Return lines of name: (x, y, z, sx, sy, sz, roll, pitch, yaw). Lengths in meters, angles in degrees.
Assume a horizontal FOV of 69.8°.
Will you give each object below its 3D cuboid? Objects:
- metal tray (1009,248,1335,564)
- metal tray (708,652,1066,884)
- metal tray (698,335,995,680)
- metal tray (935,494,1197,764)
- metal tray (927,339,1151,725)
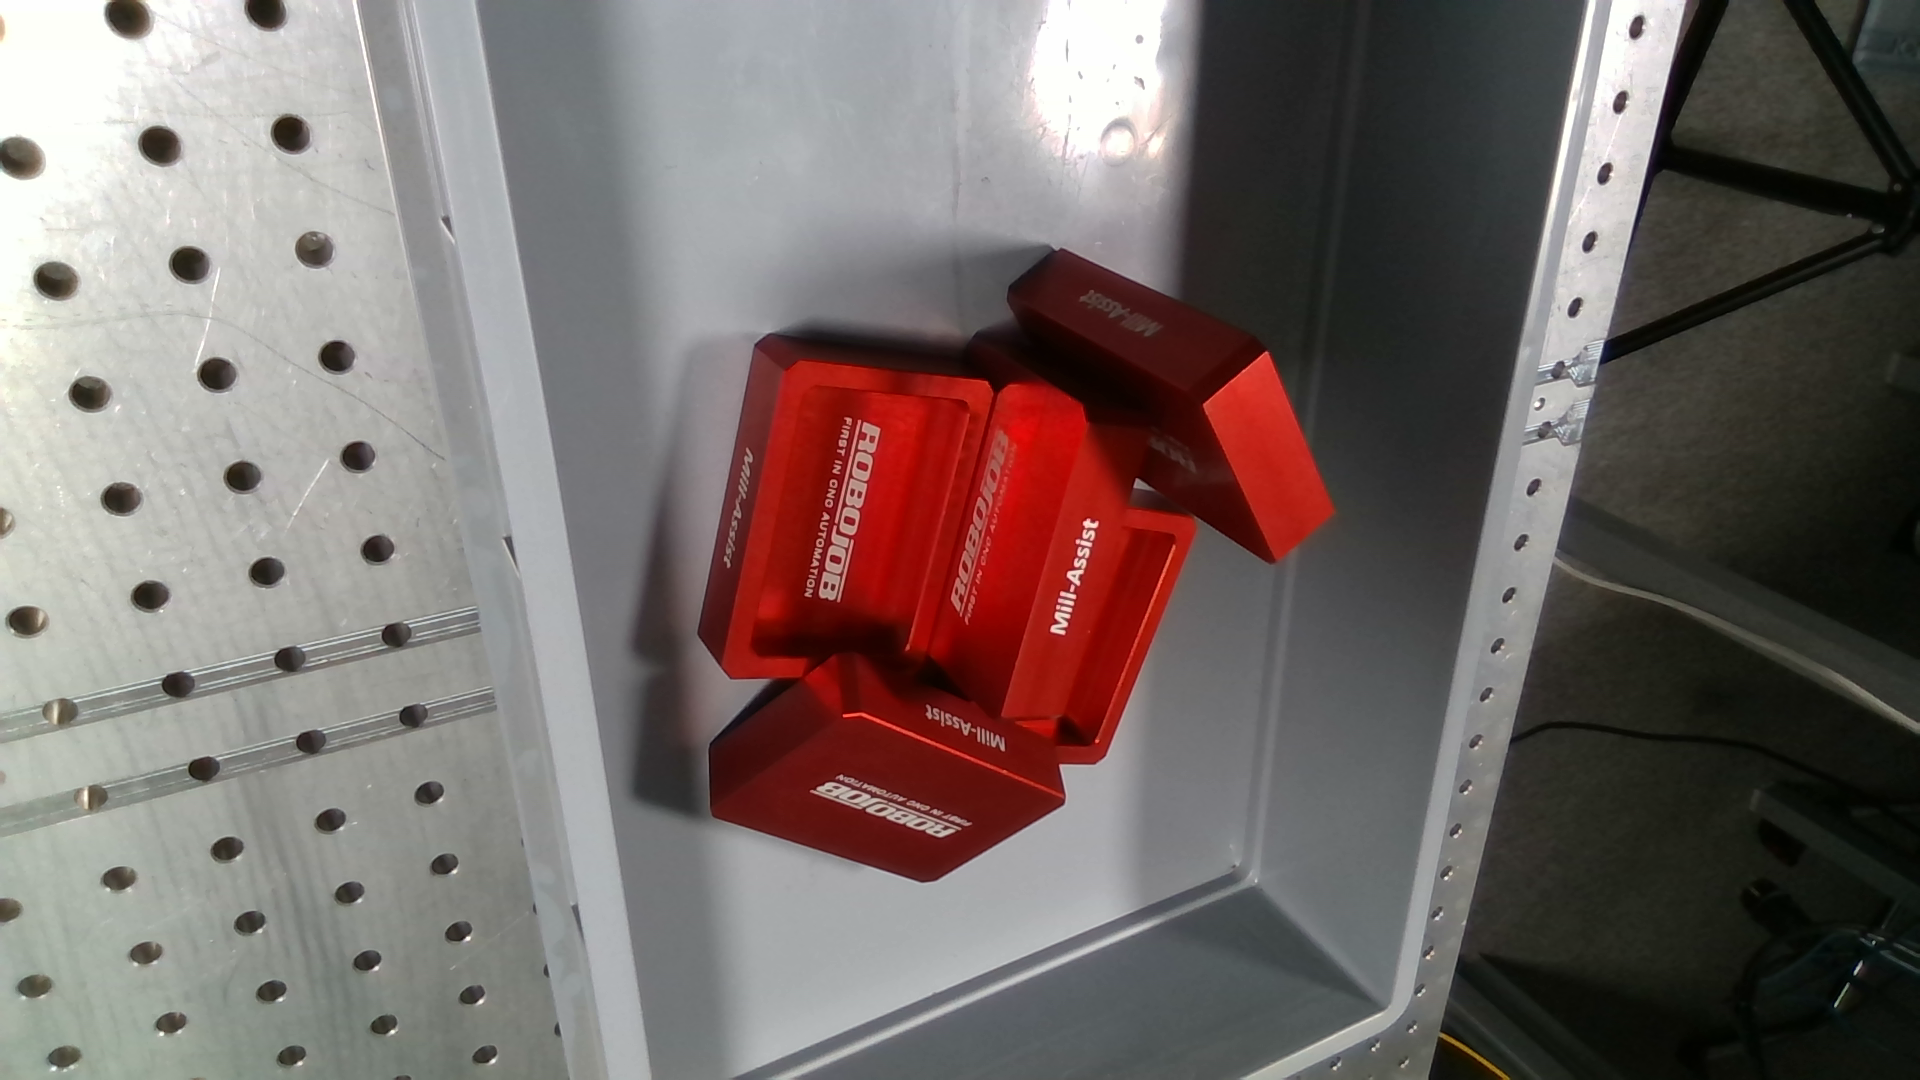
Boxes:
metal tray: (0.079, -0.054, 0.529, 0.030, 0.130, 0.090, -40, 128, -7)
metal tray: (-0.030, 0.101, 0.587, 0.090, 0.030, 0.130, -37, 134, 28)
metal tray: (-0.046, -0.010, 0.541, 0.090, 0.030, 0.130, 2, 114, -32)
metal tray: (0.045, 0.038, 0.623, 0.090, 0.030, 0.130, 7, 111, -34)
metal tray: (0.021, -0.004, 0.547, 0.030, 0.090, 0.130, 1, 114, -32)
